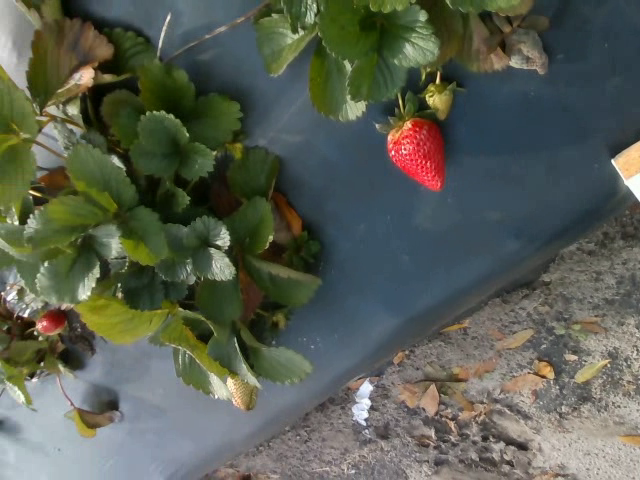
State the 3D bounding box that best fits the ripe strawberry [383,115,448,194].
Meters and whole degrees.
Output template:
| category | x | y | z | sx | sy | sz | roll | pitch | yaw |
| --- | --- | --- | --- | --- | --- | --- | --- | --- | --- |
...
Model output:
| category | x | y | z | sx | sy | sz | roll | pitch | yaw |
| --- | --- | --- | --- | --- | --- | --- | --- | --- | --- |
| ripe strawberry | 0.068 | -0.057 | 0.404 | 0.045 | 0.058 | 0.050 | -31 | 2 | 27 |
